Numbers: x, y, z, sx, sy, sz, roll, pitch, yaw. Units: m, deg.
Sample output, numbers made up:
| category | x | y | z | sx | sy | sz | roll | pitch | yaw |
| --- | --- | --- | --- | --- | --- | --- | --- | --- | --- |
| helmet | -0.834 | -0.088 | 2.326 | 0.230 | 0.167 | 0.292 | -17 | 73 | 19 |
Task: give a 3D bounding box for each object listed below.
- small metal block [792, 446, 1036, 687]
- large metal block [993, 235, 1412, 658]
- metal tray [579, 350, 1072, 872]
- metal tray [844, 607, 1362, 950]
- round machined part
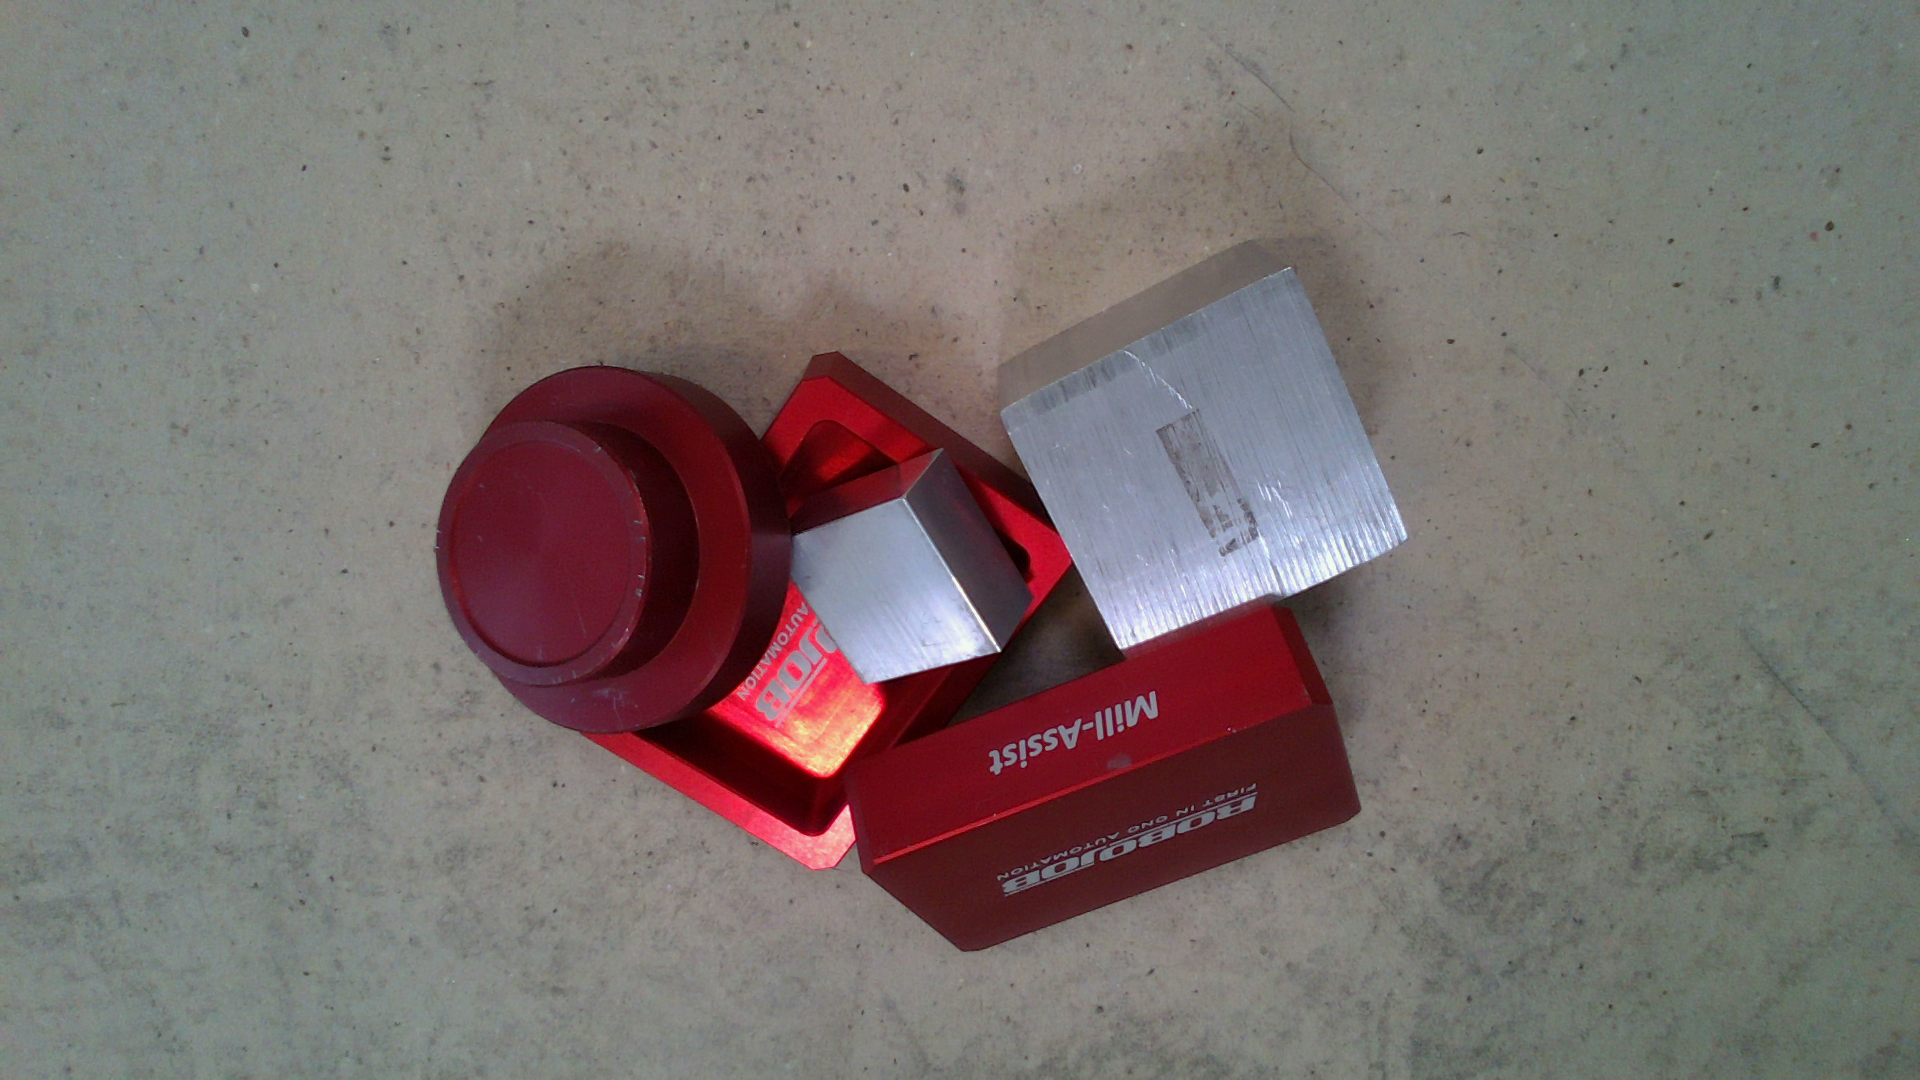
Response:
| category | x | y | z | sx | sy | sz | roll | pitch | yaw |
| --- | --- | --- | --- | --- | --- | --- | --- | --- | --- |
| small metal block | -0.016 | 0.008 | 0.373 | 0.050 | 0.025 | 0.050 | -18 | 114 | 36 |
| large metal block | 0.063 | -0.025 | 0.372 | 0.080 | 0.050 | 0.080 | -26 | 108 | 9 |
| metal tray | -0.040 | 0.023 | 0.399 | 0.090 | 0.030 | 0.130 | 33 | 107 | -12 |
| metal tray | 0.044 | 0.073 | 0.394 | 0.130 | 0.030 | 0.090 | -22 | 145 | 8 |
| round machined part | -0.098 | 0.003 | 0.363 | 0.098 | 0.042 | 0.098 | 1 | 92 | 24 |
